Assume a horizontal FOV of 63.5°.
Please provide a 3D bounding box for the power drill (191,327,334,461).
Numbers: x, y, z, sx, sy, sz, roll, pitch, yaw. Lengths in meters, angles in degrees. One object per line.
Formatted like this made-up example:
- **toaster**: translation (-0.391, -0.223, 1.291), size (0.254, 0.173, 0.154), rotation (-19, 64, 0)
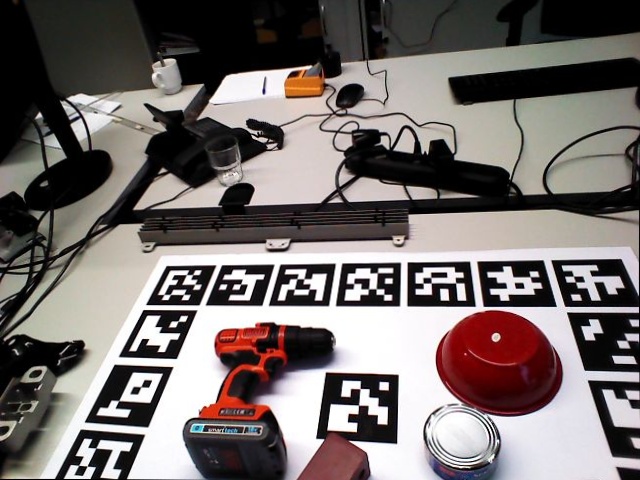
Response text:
- **power drill**: translation (-0.080, 0.193, 0.686), size (0.185, 0.057, 0.186), rotation (-1, 37, 9)

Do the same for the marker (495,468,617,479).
- **marker**: translation (0.246, 0.254, 0.541), size (0.121, 0.020, 0.019), rotation (-8, 40, 5)

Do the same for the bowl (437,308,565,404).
- **bowl**: translation (0.235, 0.136, 0.682), size (0.162, 0.055, 0.161), rotation (-10, 31, 6)

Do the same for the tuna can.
- **tuna can**: translation (0.169, 0.220, 0.595), size (0.086, 0.034, 0.085), rotation (-6, 39, 4)

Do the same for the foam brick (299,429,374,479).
- **foam brick**: translation (0.018, 0.263, 0.579), size (0.051, 0.053, 0.077), rotation (16, 47, 29)
